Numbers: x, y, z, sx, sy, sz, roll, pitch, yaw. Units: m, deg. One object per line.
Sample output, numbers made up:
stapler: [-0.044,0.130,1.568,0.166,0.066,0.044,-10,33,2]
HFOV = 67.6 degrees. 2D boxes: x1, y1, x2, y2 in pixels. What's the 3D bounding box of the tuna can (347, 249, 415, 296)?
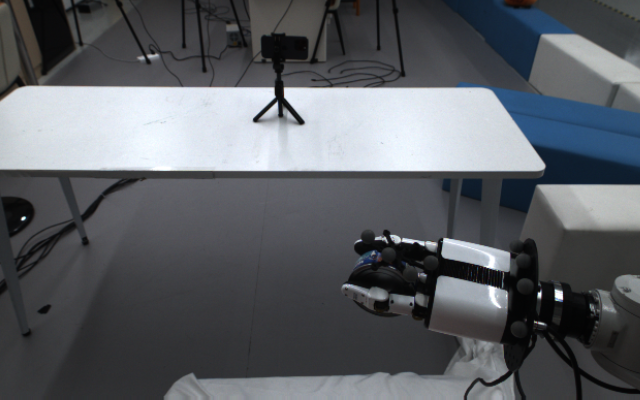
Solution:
tuna can: [0.083,0.103,0.611,0.085,0.085,0.034,12,33,14]
